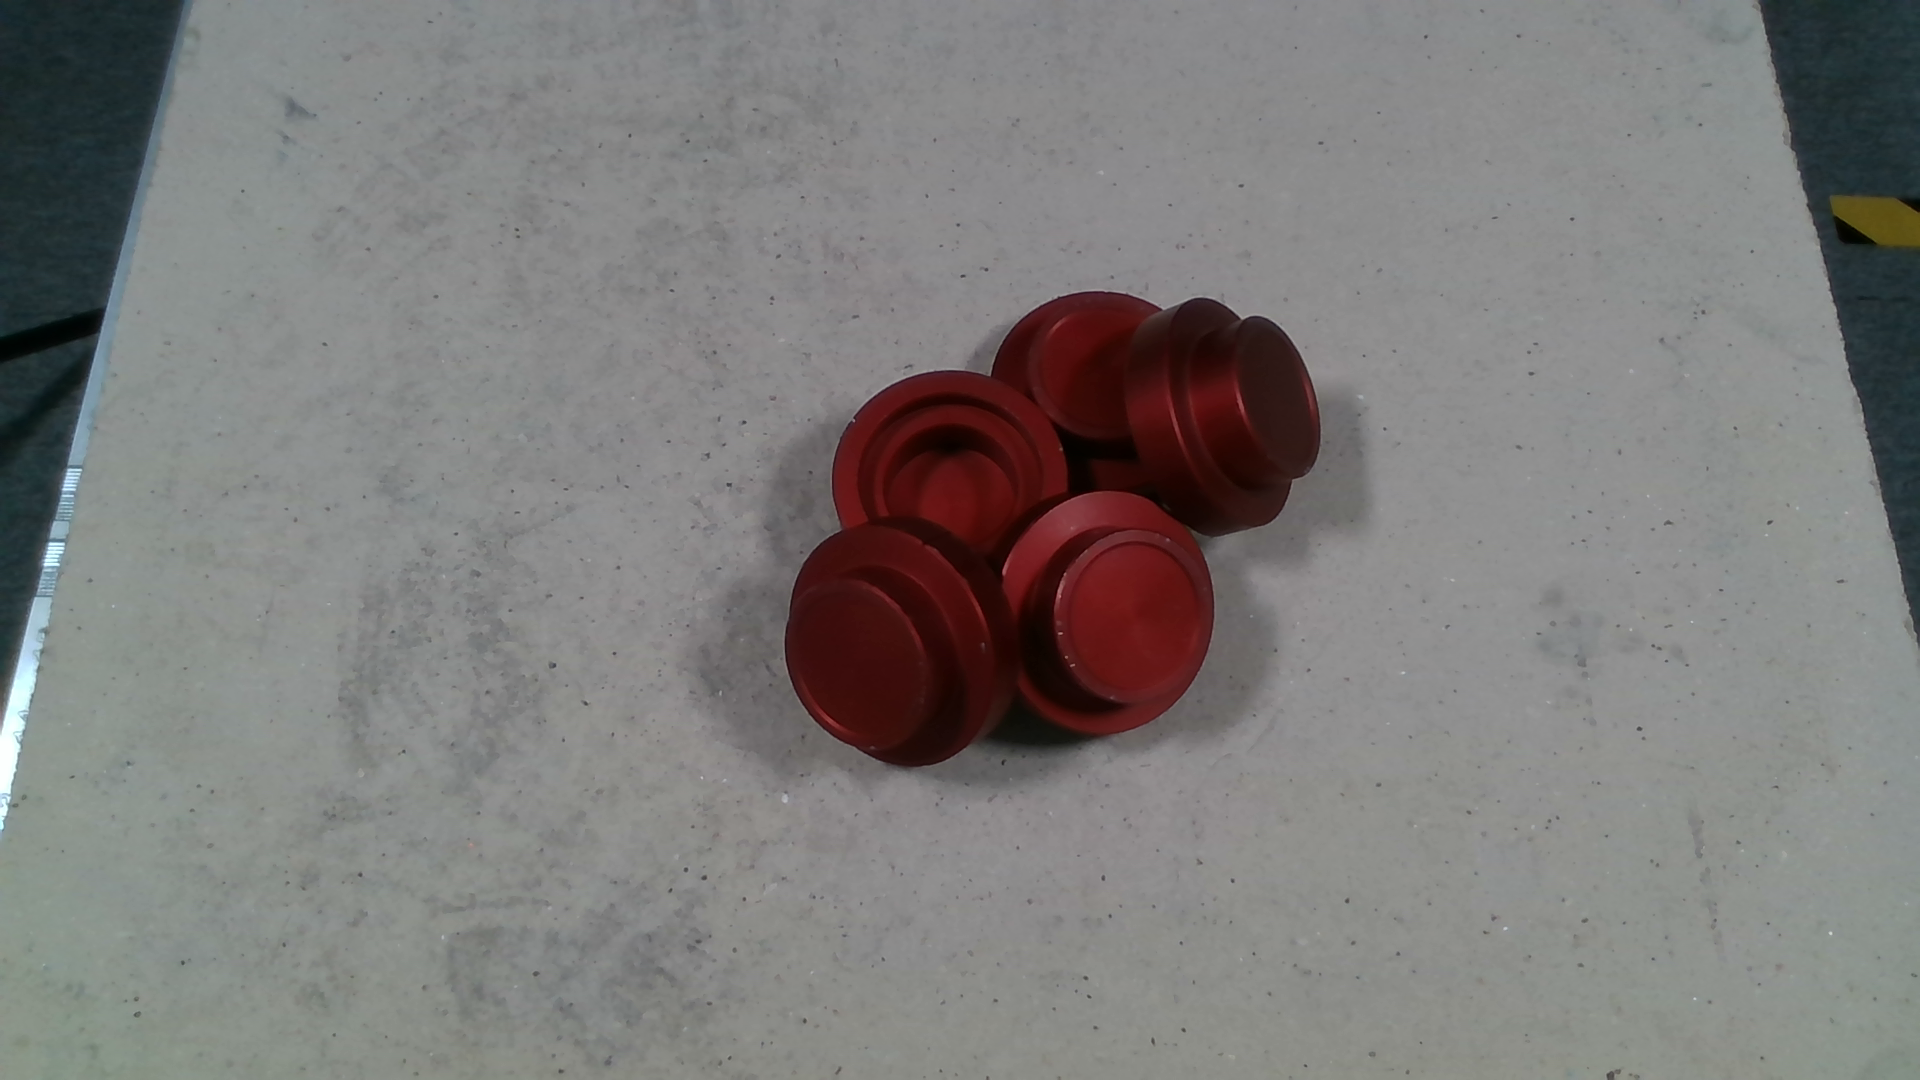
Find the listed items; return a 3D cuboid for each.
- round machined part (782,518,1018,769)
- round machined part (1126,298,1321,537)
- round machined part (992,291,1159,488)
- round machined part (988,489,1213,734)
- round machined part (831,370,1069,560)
[{"bbox_3d":[-0.030,0.044,0.534,0.098,0.098,0.042,45,35,14],"label":"round machined part"},{"bbox_3d":[0.114,-0.053,0.567,0.042,0.098,0.098,-16,64,39],"label":"round machined part"},{"bbox_3d":[0.062,-0.067,0.604,0.098,0.042,0.098,0,70,0],"label":"round machined part"},{"bbox_3d":[0.060,0.029,0.546,0.098,0.042,0.098,-1,93,-22],"label":"round machined part"},{"bbox_3d":[-0.004,-0.019,0.586,0.098,0.042,0.098,0,70,0],"label":"round machined part"}]
